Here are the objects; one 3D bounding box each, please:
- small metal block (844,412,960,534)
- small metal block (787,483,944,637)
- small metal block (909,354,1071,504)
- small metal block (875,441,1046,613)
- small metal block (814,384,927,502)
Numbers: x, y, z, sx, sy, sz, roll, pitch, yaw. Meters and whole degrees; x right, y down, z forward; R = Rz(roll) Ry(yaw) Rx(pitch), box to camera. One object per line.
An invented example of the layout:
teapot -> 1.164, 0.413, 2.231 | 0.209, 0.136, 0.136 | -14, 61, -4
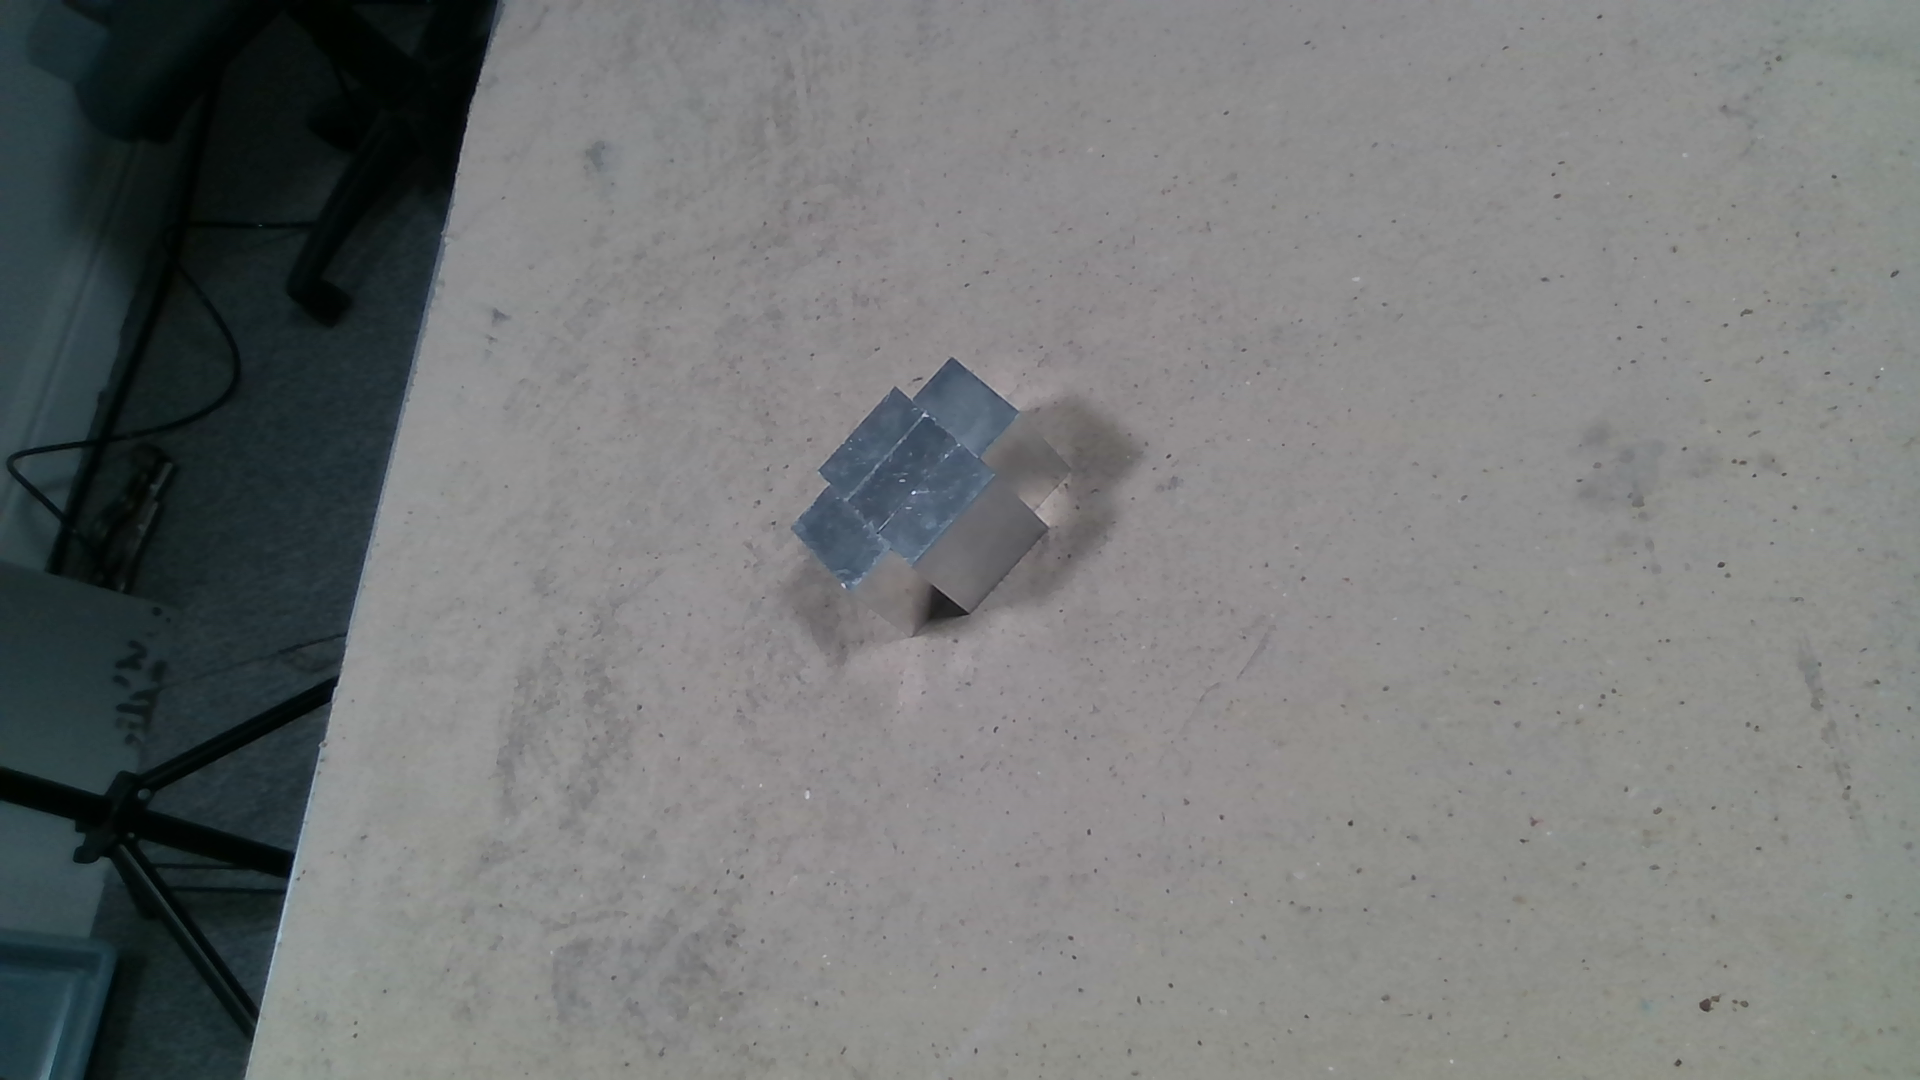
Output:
small metal block -> -0.013, -0.018, 0.586 | 0.050, 0.050, 0.025 | -48, 51, 1
small metal block -> -0.039, 0.009, 0.588 | 0.025, 0.050, 0.050 | -47, 51, 1
small metal block -> 0.013, -0.045, 0.585 | 0.025, 0.050, 0.050 | -47, 51, 1
small metal block -> 0.001, -0.004, 0.570 | 0.050, 0.050, 0.025 | -48, 51, 1
small metal block -> -0.027, -0.031, 0.602 | 0.050, 0.050, 0.025 | -48, 51, 1
